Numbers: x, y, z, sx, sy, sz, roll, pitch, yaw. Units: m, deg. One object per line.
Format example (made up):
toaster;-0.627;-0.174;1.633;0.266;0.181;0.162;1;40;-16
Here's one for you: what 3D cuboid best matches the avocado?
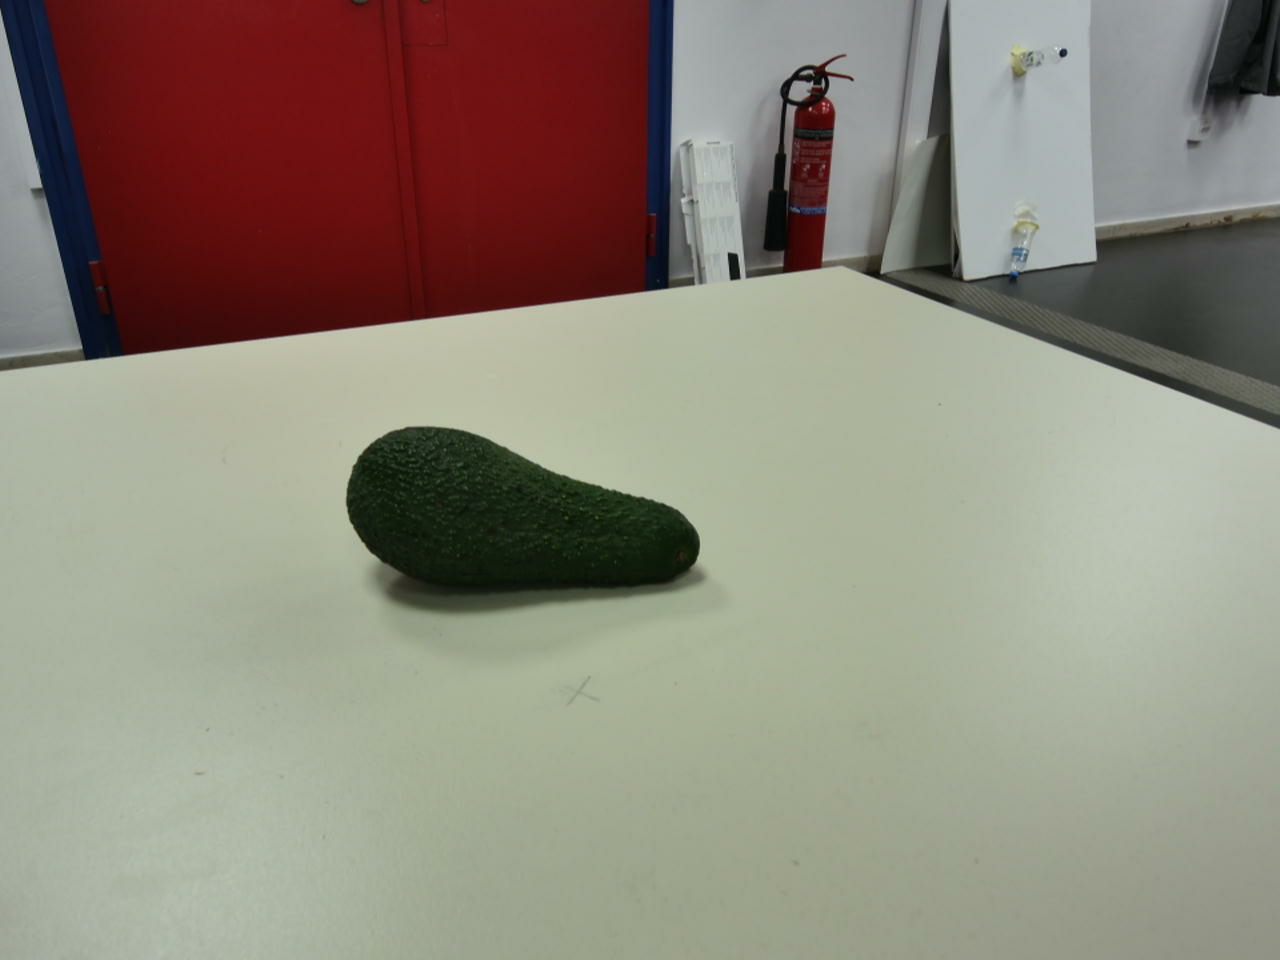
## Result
avocado;-0.048;0.008;0.410;0.141;0.067;0.063;-5;24;-10
